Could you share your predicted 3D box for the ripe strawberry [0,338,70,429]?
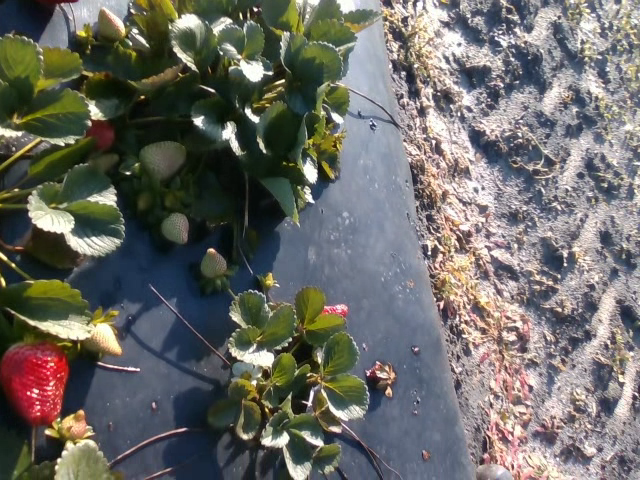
[{"bbox_3d":[-0.207,0.107,0.439,0.056,0.072,0.055,-29,-23,3],"label":"ripe strawberry"}]
